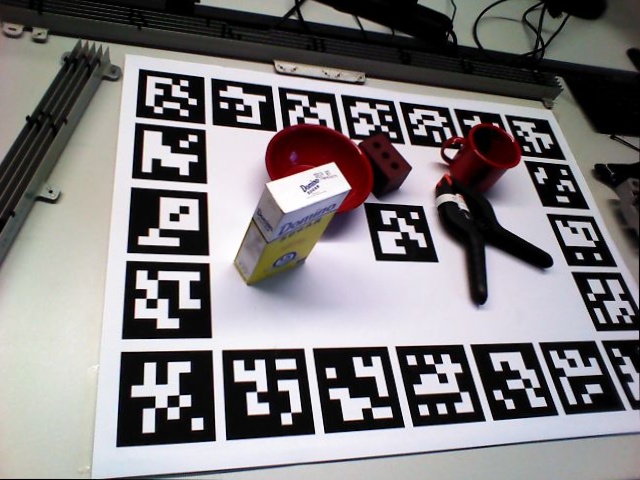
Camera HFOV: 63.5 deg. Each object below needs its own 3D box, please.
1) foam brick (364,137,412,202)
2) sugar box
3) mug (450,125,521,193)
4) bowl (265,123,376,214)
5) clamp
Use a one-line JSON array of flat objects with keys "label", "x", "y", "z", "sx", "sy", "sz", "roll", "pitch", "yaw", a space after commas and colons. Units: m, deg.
[{"label": "foam brick", "x": 0.101, "y": -0.108, "z": 0.797, "sx": 0.052, "sy": 0.052, "sz": 0.078, "roll": -25, "pitch": 72, "yaw": -28}, {"label": "sugar box", "x": -0.042, "y": -0.009, "z": 0.609, "sx": 0.092, "sy": 0.177, "sz": 0.045, "roll": -22, "pitch": 72, "yaw": -30}, {"label": "mug", "x": 0.266, "y": -0.136, "z": 0.840, "sx": 0.117, "sy": 0.082, "sz": 0.092, "roll": 26, "pitch": 56, "yaw": -6}, {"label": "bowl", "x": -0.005, "y": -0.092, "z": 0.743, "sx": 0.161, "sy": 0.055, "sz": 0.161, "roll": 9, "pitch": 58, "yaw": -15}, {"label": "clamp", "x": 0.245, "y": -0.017, "z": 0.785, "sx": 0.164, "sy": 0.037, "sz": 0.202, "roll": -22, "pitch": 70, "yaw": -26}]
